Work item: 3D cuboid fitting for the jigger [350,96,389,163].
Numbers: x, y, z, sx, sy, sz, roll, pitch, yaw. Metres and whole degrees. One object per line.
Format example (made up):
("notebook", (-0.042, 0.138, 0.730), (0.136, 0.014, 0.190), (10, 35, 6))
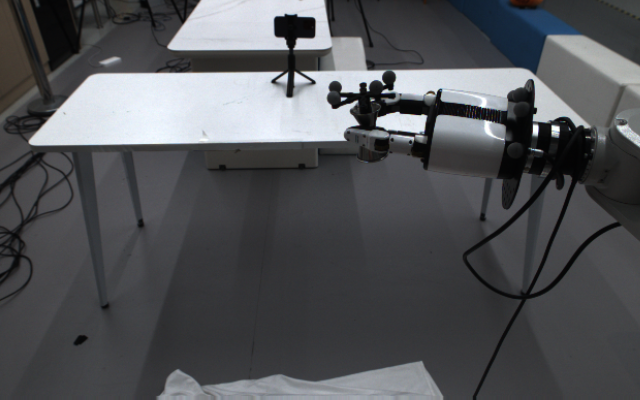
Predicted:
("jigger", (0.065, -0.089, 0.638), (0.043, 0.071, 0.043), (-10, 32, 6))
